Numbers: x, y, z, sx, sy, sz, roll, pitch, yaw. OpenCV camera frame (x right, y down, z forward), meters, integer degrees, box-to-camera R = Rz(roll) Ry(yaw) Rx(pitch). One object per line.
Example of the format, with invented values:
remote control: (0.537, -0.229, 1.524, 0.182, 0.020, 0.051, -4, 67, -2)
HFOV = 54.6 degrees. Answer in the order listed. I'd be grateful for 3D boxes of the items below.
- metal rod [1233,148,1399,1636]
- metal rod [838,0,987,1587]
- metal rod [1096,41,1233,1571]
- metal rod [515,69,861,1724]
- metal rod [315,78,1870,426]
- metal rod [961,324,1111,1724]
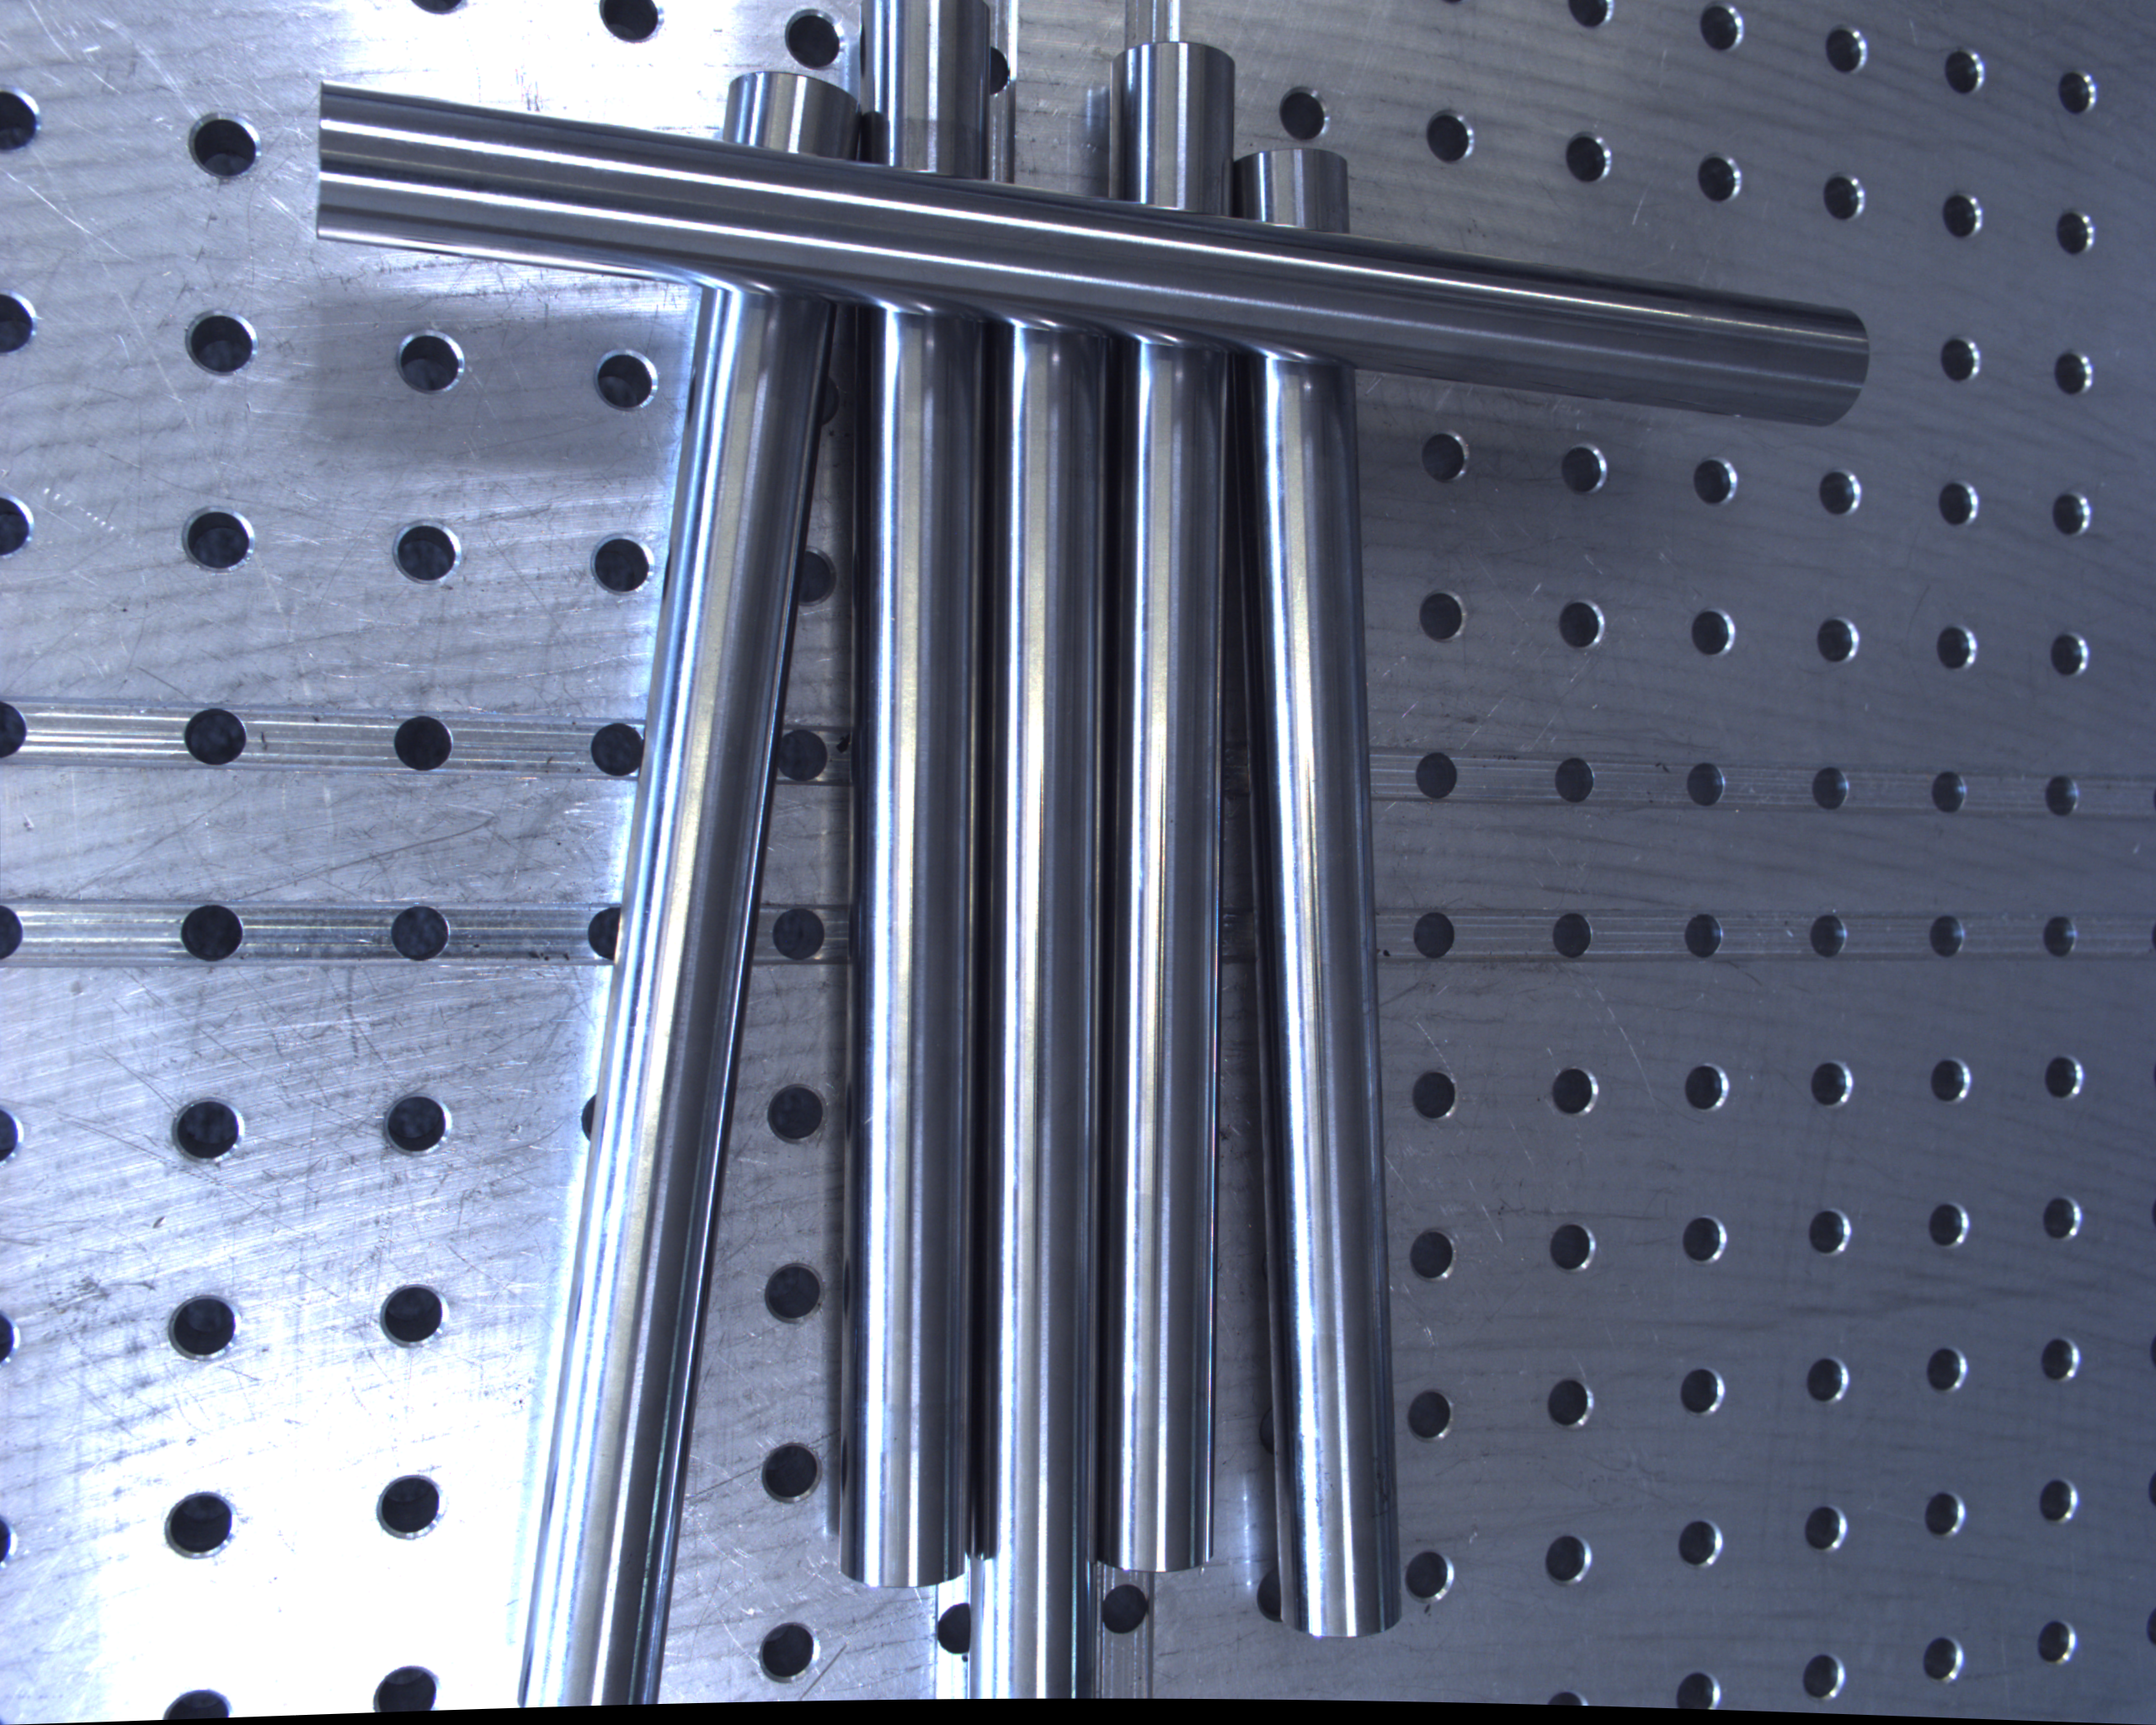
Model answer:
metal rod: (0.048, 0.006, 0.430, 0.025, 0.025, 0.298, -2, 91, -20)
metal rod: (-0.032, -0.015, 0.401, 0.025, 0.025, 0.298, 1, 90, -20)
metal rod: (0.016, -0.011, 0.420, 0.025, 0.025, 0.298, 1, 90, -20)
metal rod: (-0.071, 0.005, 0.385, 0.025, 0.025, 0.299, 8, 87, -20)
metal rod: (0.018, -0.110, 0.392, 0.302, 0.025, 0.025, 2, 90, -20)
metal rod: (-0.008, 0.041, 0.409, 0.025, 0.025, 0.298, 1, 90, -20)
